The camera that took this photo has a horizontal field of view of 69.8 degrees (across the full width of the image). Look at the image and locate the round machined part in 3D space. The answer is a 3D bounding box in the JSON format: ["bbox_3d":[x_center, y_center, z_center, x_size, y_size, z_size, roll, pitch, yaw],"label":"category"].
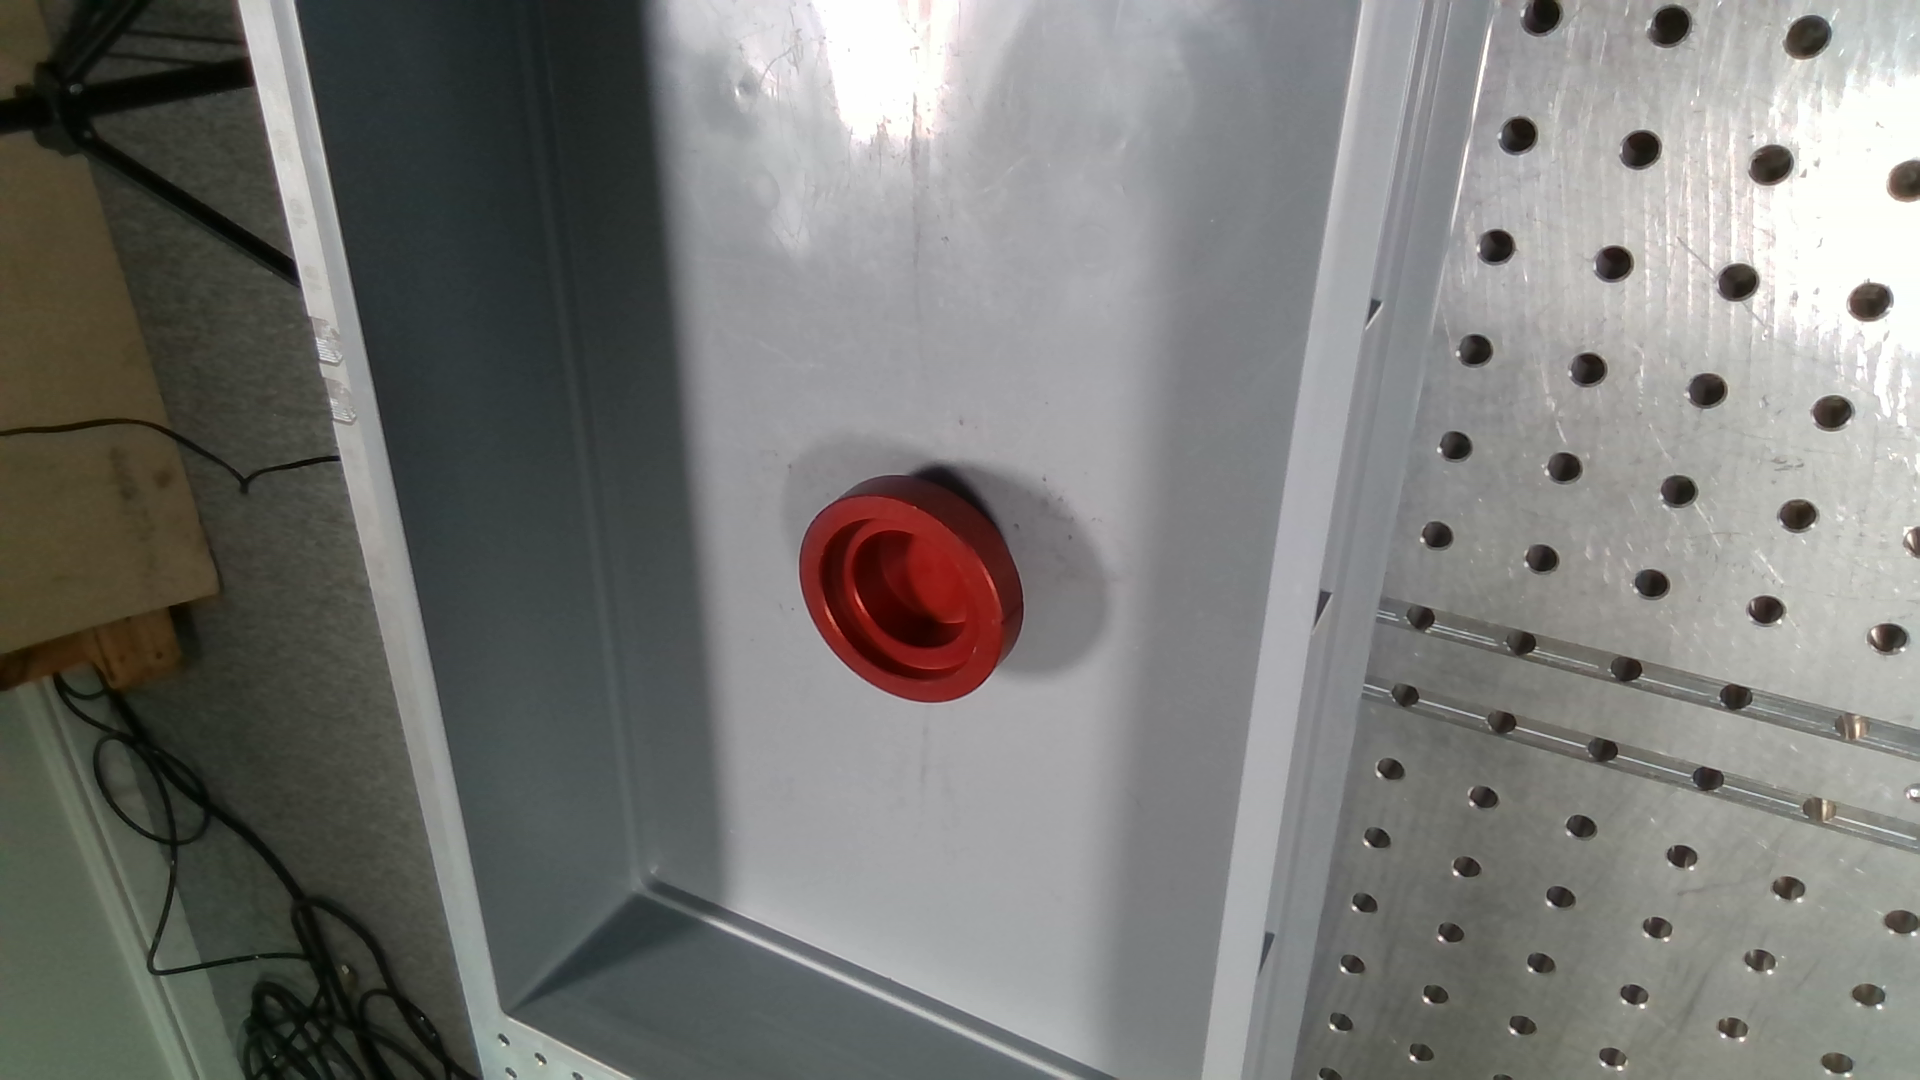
[{"bbox_3d":[-0.017,0.017,0.585,0.098,0.042,0.098,14,122,25],"label":"round machined part"}]
